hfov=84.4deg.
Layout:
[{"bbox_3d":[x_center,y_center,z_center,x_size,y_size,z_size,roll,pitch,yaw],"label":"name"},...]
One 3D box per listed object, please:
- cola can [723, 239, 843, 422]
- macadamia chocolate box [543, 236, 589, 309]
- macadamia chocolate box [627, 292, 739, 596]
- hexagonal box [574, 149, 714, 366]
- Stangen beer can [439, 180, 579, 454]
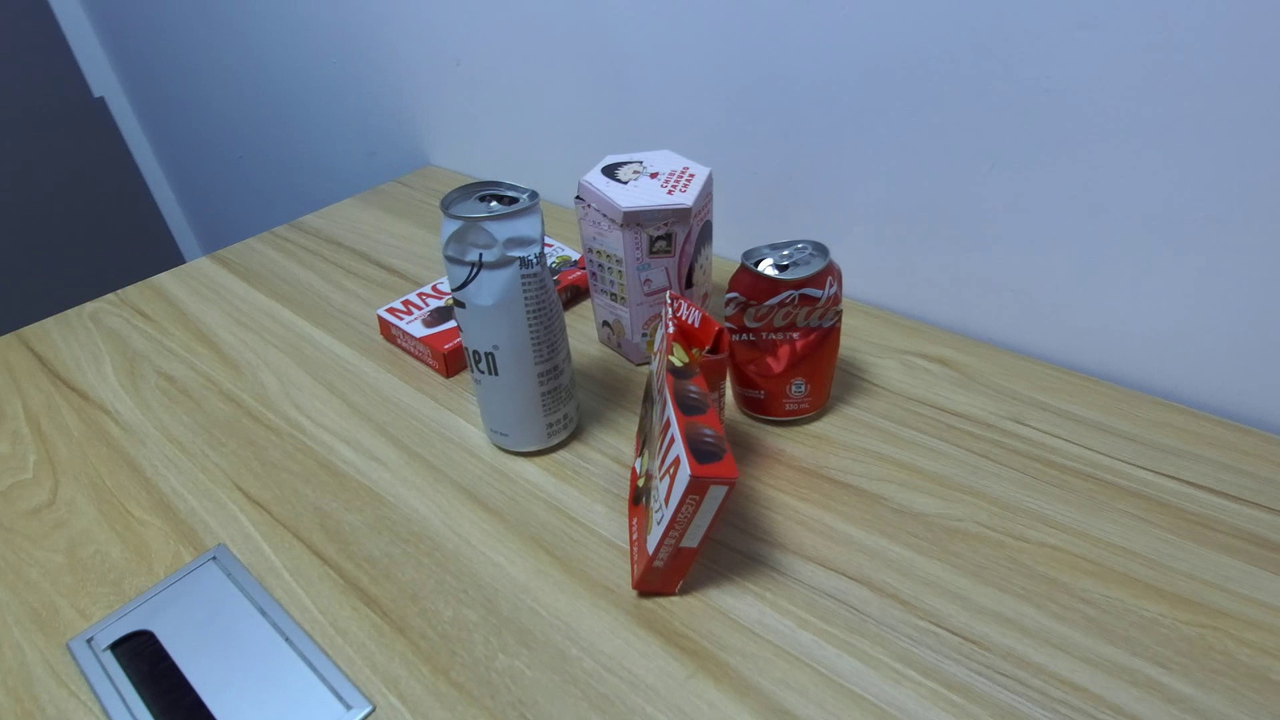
[{"bbox_3d":[0.094,-0.018,0.452,0.069,0.113,0.065,10,38,19],"label":"cola can"},{"bbox_3d":[-0.116,-0.054,0.607,0.102,0.027,0.187,28,48,31],"label":"macadamia chocolate box"},{"bbox_3d":[0.020,0.044,0.379,0.056,0.112,0.126,-1,36,3],"label":"macadamia chocolate box"},{"bbox_3d":[0.007,-0.075,0.519,0.085,0.135,0.092,11,39,19],"label":"hexagonal box"},{"bbox_3d":[-0.076,-0.021,0.434,0.066,0.166,0.066,3,36,10],"label":"Stangen beer can"}]
